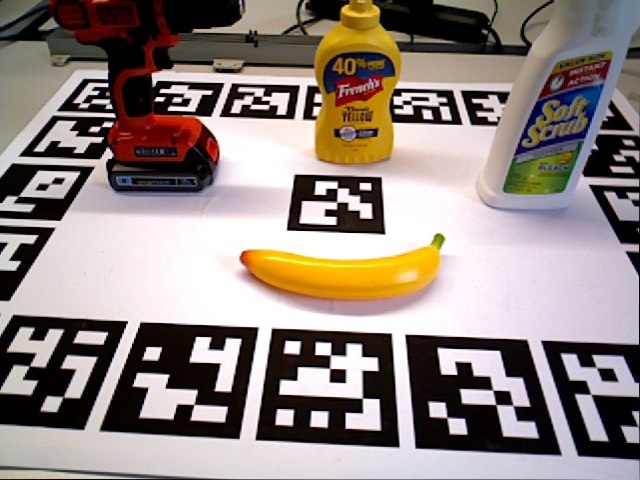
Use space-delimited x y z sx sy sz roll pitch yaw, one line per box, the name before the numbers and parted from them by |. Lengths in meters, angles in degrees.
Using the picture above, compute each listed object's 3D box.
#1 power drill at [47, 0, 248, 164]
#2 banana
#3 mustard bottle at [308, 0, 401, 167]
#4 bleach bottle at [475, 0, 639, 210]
power drill | -0.151 -0.171 0.541 0.184 0.191 0.056 -4 43 0
banana | 0.027 0.019 0.483 0.196 0.039 0.073 -3 45 0
mustard bottle | 0.038 -0.173 0.590 0.095 0.196 0.057 -2 43 -6
bleach bottle | 0.227 -0.147 0.515 0.102 0.256 0.066 8 43 7
